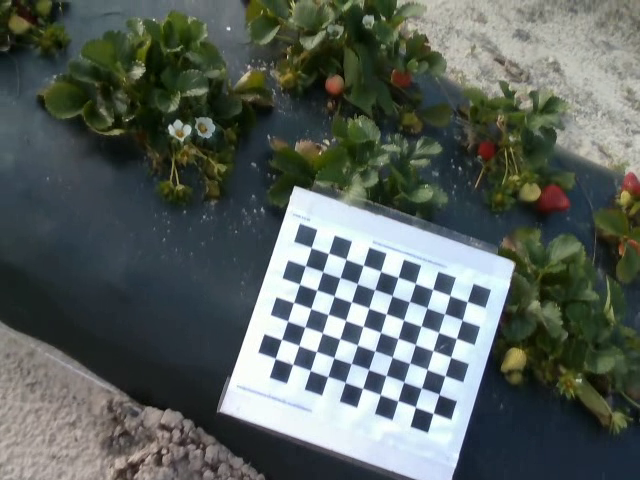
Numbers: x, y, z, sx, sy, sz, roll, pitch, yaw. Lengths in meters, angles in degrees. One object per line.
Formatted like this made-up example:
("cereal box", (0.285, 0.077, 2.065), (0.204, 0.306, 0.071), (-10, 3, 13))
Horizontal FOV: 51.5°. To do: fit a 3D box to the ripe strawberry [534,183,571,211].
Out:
("ripe strawberry", (0.393, -0.064, 1.098), (0.051, 0.048, 0.055), (-39, 35, -3))
